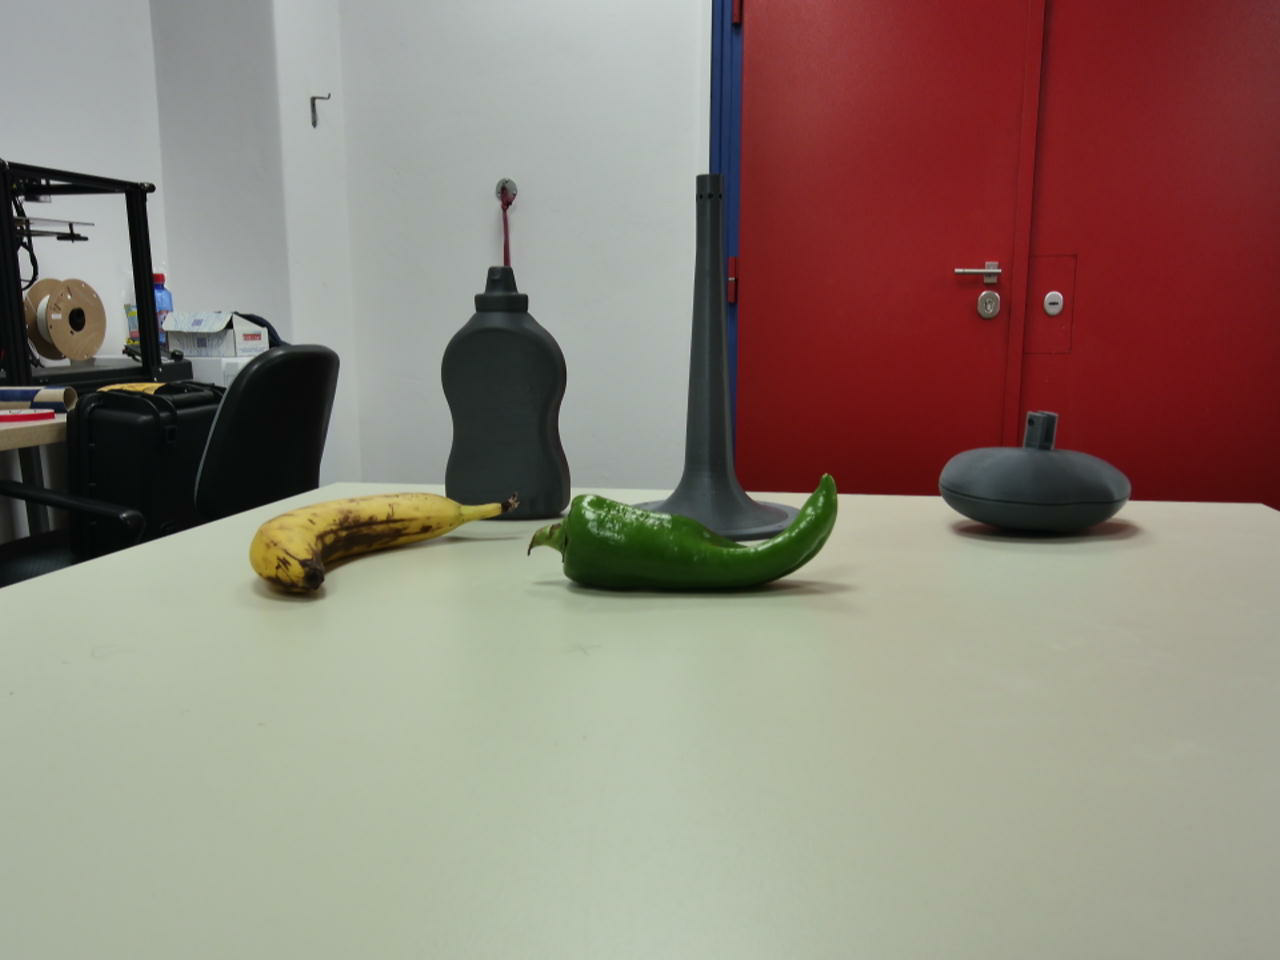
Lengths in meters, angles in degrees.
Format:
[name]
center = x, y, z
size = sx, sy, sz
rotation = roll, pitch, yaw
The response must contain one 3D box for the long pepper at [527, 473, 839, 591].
[long pepper]
center = 0.022, 0.028, 0.559
size = 0.175, 0.065, 0.058
rotation = 1, 6, 10
